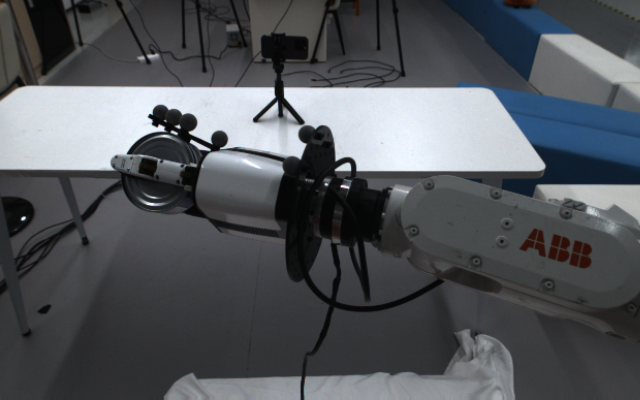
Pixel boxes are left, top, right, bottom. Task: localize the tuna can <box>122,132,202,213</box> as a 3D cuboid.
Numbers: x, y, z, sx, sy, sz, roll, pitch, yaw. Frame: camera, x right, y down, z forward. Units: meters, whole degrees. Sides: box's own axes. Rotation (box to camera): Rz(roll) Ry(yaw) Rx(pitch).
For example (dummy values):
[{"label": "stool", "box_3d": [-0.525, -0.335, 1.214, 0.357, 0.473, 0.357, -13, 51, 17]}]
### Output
[{"label": "tuna can", "box_3d": [-0.164, -0.028, 0.520, 0.085, 0.085, 0.034, 13, -6, 16]}]
